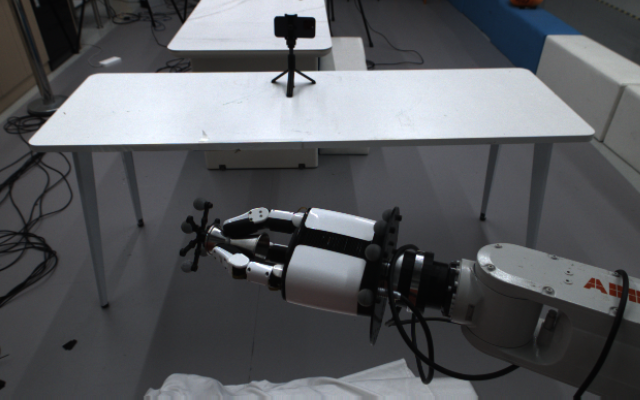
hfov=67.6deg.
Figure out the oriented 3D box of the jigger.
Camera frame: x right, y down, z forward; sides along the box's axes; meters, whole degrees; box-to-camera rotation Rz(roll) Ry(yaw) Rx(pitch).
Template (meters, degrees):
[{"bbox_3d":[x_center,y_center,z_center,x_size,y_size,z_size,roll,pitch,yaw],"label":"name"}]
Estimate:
[{"bbox_3d":[-0.096,0.054,0.600,0.071,0.043,0.043,11,36,15],"label":"jigger"}]
